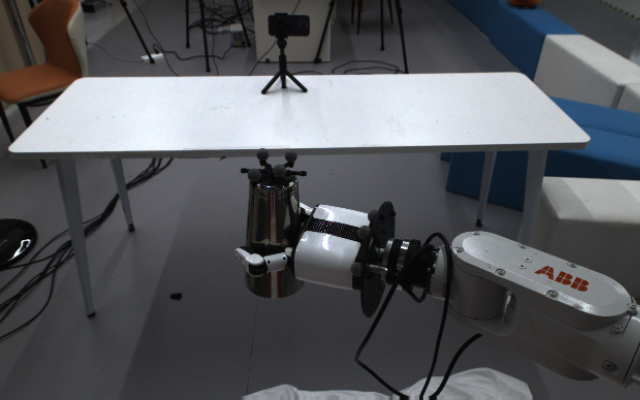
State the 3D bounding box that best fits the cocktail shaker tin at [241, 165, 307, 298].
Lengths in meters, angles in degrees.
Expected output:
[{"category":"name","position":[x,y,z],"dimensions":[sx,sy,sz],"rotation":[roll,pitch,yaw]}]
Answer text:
[{"category":"cocktail shaker tin","position":[-0.064,0.045,0.695],"dimensions":[0.093,0.170,0.093],"rotation":[2,28,-1]}]
